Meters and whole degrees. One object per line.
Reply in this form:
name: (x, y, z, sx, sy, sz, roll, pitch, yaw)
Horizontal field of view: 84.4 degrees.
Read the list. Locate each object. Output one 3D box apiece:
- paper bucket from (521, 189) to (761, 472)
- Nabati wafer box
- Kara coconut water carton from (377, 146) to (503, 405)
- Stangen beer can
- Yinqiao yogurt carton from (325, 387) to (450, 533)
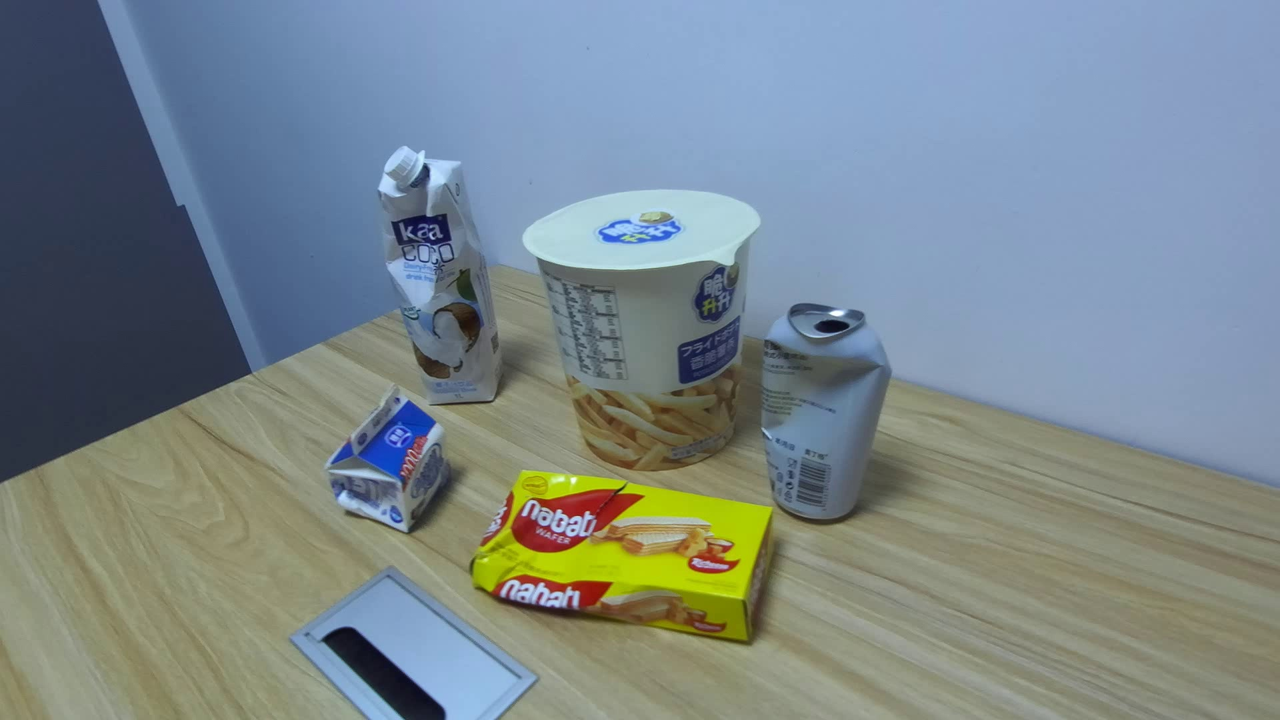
paper bucket: (0.010, -0.027, 0.615, 0.198, 0.195, 0.198, -4, 30, 3)
Nabati wafer box: (-0.016, 0.135, 0.499, 0.203, 0.042, 0.107, 5, 30, 19)
Kara coconut water carton: (-0.193, -0.080, 0.680, 0.083, 0.256, 0.078, 3, 33, 14)
Stangen beer can: (0.132, 0.040, 0.515, 0.077, 0.162, 0.065, -8, 31, -5)
Yinqiao yogurt carton: (-0.210, 0.076, 0.574, 0.080, 0.097, 0.074, 9, 32, 10)
